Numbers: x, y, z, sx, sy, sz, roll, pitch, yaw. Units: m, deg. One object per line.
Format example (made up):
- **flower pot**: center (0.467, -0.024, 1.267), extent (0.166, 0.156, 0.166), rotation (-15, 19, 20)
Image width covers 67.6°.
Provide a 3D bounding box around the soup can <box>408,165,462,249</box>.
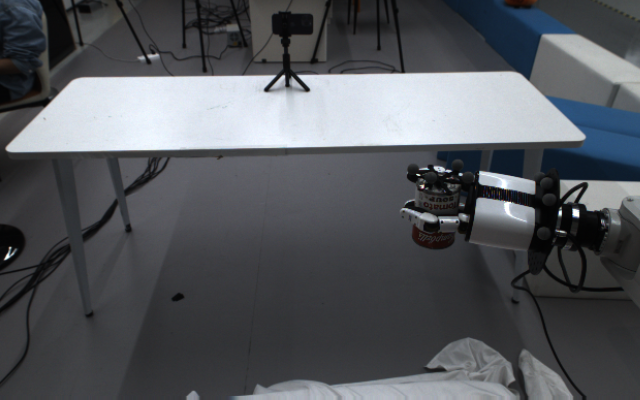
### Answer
- **soup can**: center (0.180, 0.015, 0.747), extent (0.067, 0.101, 0.067), rotation (-2, 32, 1)
